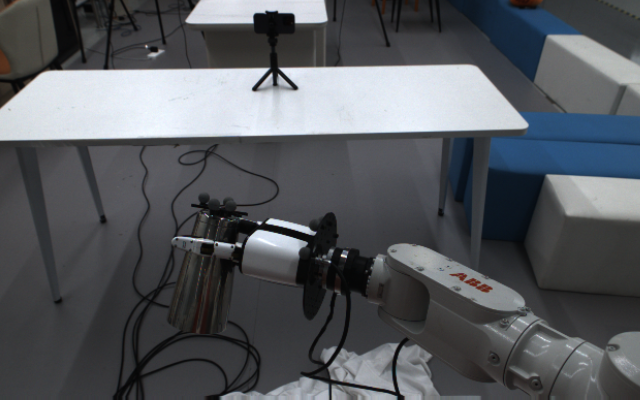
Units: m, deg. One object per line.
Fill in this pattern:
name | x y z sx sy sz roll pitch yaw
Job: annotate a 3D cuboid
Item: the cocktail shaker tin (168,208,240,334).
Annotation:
cocktail shaker tin | -0.171 0.104 0.742 0.093 0.170 0.093 13 3 -1
